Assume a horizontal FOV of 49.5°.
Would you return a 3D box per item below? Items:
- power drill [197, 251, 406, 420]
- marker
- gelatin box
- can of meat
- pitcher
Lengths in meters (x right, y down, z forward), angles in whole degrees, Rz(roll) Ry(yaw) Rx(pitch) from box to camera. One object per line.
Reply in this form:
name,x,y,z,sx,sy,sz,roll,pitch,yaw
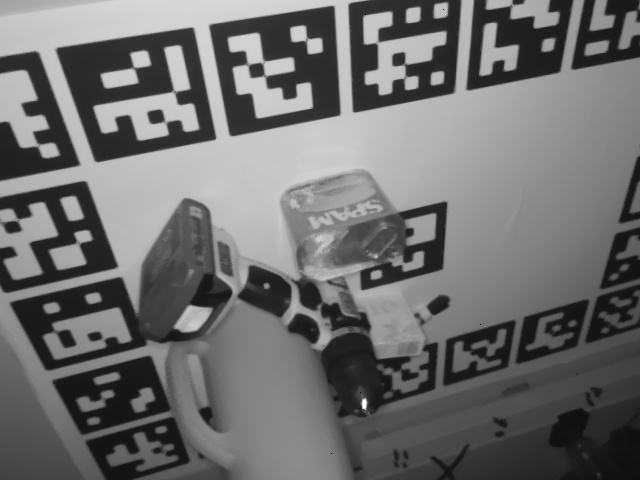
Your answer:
power drill,-0.016,0.086,0.645,0.189,0.185,0.057,20,113,-23
marker,0.125,0.129,0.823,0.121,0.019,0.020,-35,127,5
gelatin box,0.073,0.112,0.763,0.090,0.073,0.030,-4,121,-14
can of meat,0.031,-0.007,0.656,0.102,0.084,0.057,-14,129,-8
pitcher,-0.046,0.192,0.679,0.191,0.242,0.132,12,116,-33
